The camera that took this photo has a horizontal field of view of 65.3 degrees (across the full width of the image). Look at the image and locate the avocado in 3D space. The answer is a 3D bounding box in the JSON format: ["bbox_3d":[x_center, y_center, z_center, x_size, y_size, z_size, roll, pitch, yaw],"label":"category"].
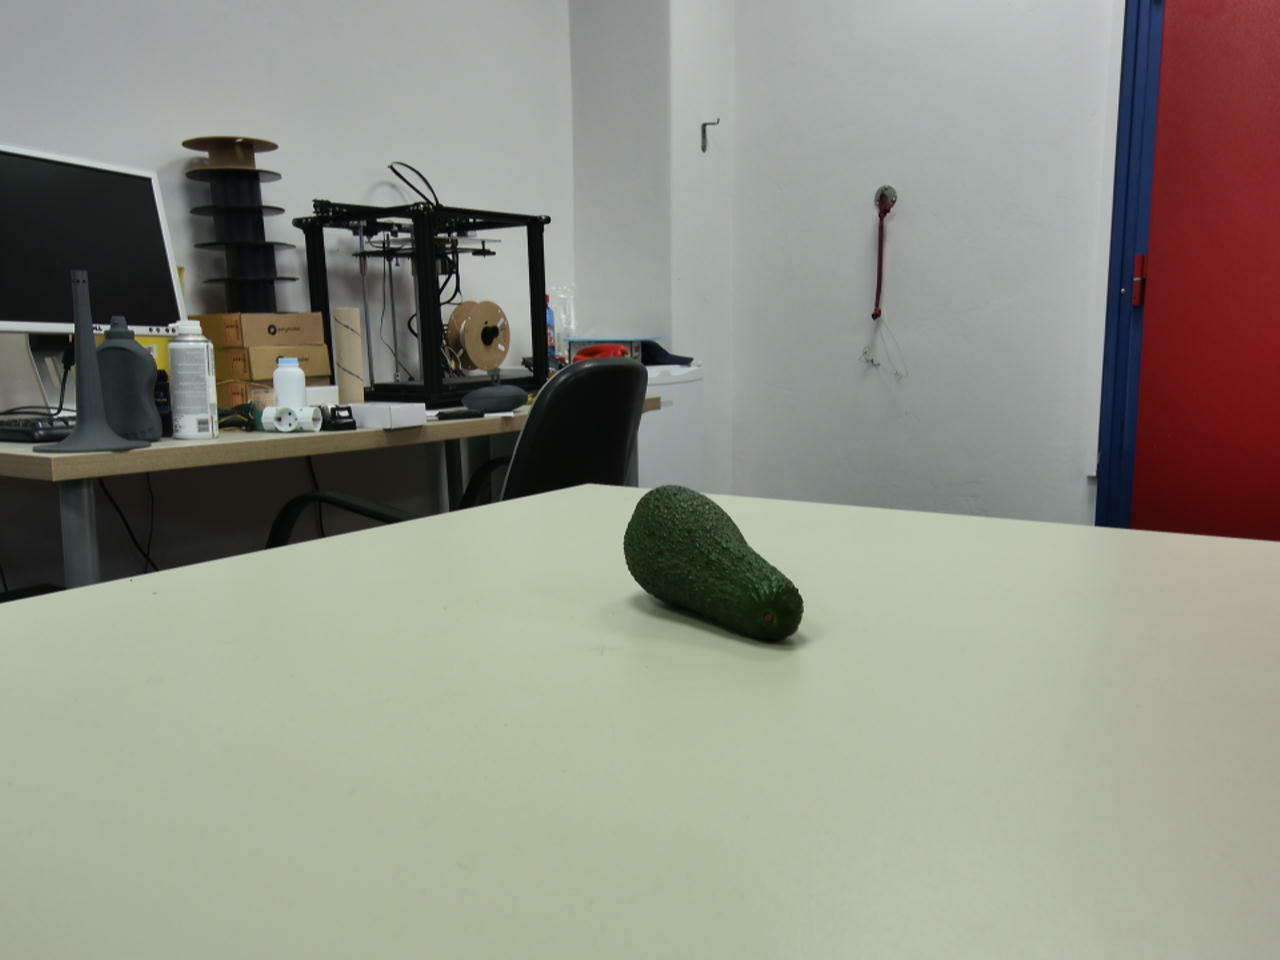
[{"bbox_3d":[0.042,0.040,0.534,0.063,0.067,0.141,-4,7,-39],"label":"avocado"}]
